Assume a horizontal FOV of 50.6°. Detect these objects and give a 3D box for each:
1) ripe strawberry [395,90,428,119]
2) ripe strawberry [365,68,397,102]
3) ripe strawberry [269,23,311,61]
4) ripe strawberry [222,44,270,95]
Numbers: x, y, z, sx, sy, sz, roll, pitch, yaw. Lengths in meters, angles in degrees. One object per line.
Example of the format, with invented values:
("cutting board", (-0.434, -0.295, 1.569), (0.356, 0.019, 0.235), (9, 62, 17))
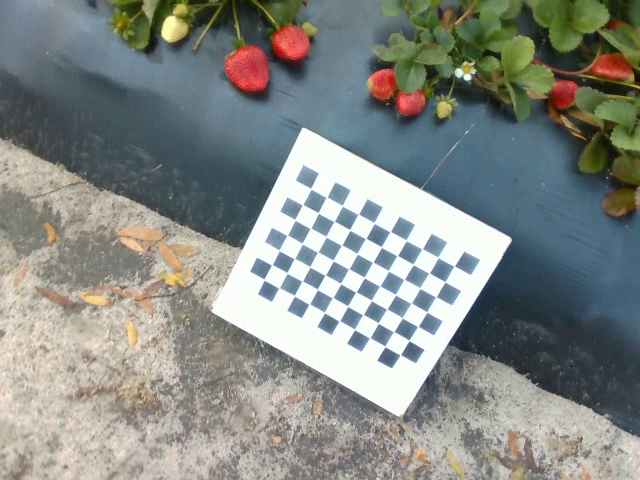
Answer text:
("ripe strawberry", (0.116, -0.173, 0.860), (0.043, 0.041, 0.049), (24, 41, 5))
("ripe strawberry", (0.082, -0.198, 0.872), (0.053, 0.047, 0.038), (-2, 18, -23))
("ripe strawberry", (-0.030, -0.249, 0.880), (0.050, 0.060, 0.051), (-37, -46, 19))
("ripe strawberry", (-0.085, -0.214, 0.869), (0.058, 0.065, 0.043), (-32, -13, 18))
